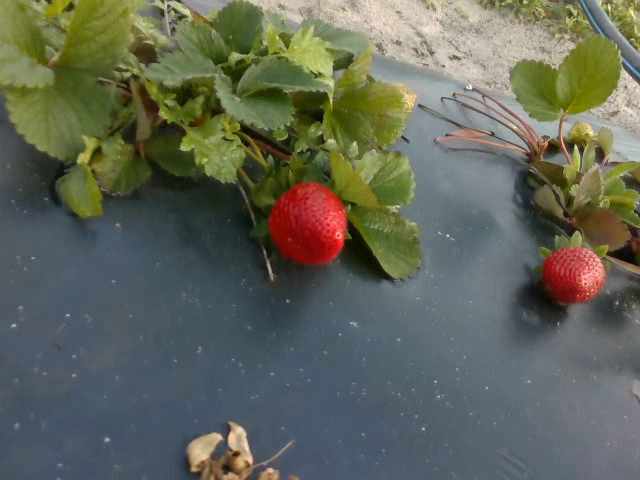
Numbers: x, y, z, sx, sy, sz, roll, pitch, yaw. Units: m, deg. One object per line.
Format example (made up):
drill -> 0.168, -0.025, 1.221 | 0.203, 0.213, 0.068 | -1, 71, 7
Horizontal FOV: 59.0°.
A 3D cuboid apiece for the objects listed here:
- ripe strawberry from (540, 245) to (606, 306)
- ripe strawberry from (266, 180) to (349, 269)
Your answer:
ripe strawberry -> 0.141, 0.023, 0.310 | 0.041, 0.045, 0.052 | -23, 2, 20
ripe strawberry -> -0.003, -0.005, 0.253 | 0.051, 0.046, 0.050 | 46, -6, -11
